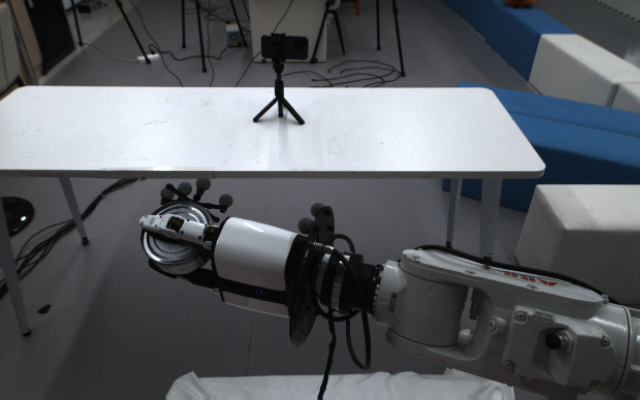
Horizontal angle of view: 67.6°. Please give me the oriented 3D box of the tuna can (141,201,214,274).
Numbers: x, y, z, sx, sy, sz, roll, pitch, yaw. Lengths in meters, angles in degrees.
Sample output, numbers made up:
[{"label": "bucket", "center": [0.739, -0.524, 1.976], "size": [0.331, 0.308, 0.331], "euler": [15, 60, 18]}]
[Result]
[{"label": "tuna can", "center": [-0.168, 0.045, 0.584], "size": [0.085, 0.034, 0.085], "euler": [-3, 57, 4]}]
